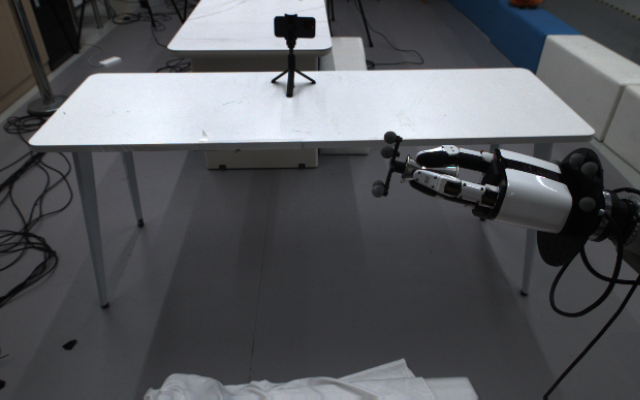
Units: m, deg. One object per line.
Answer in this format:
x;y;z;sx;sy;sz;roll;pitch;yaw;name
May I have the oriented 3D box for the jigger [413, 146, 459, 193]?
0.152;-0.037;0.649;0.071;0.043;0.043;14;36;4;jigger
